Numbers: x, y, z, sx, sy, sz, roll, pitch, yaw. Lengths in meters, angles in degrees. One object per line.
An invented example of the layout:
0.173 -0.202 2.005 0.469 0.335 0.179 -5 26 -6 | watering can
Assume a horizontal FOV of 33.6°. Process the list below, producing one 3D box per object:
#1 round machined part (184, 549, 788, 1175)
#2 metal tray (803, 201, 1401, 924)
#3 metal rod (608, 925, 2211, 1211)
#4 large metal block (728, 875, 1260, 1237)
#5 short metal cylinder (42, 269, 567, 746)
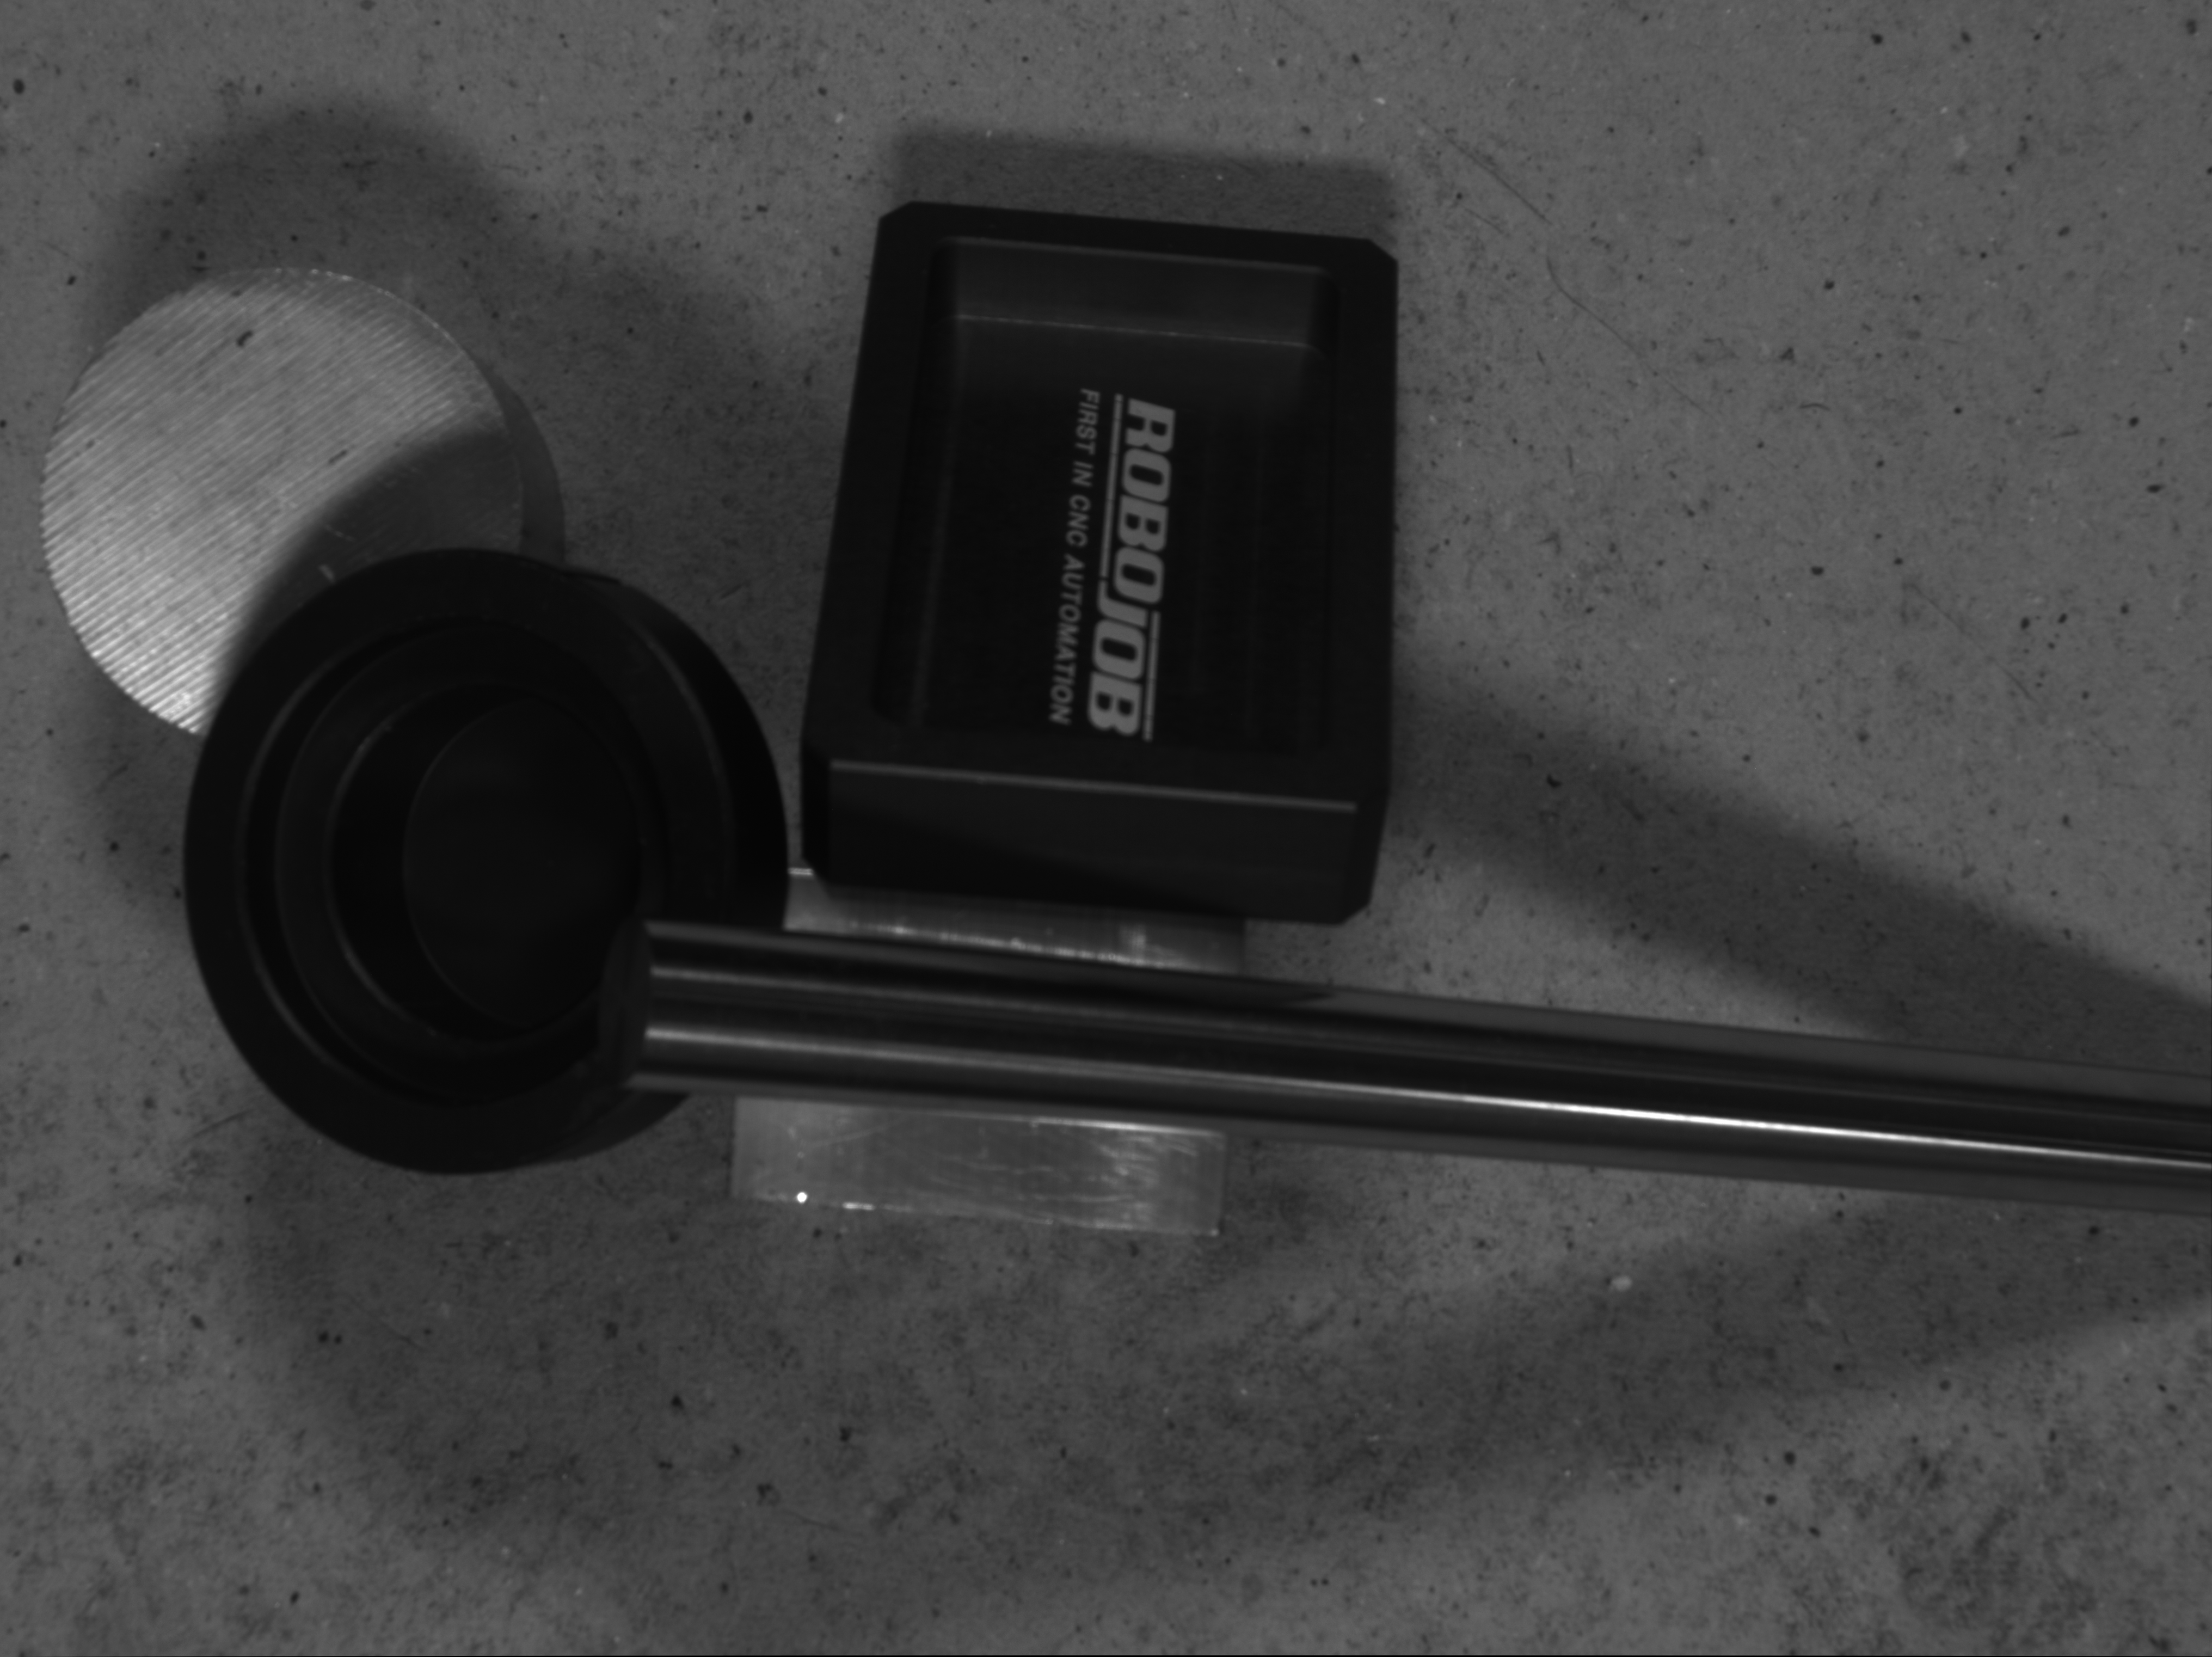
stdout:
-0.096 0.006 0.592 0.098 0.042 0.098 0 89 20 | round machined part
0.002 -0.047 0.605 0.090 0.030 0.130 5 50 0 | metal tray
0.068 0.041 0.587 0.301 0.025 0.025 6 90 -24 | metal rod
-0.018 0.036 0.617 0.080 0.080 0.050 5 90 0 | large metal block
-0.136 -0.053 0.632 0.080 0.050 0.080 0 90 0 | short metal cylinder
